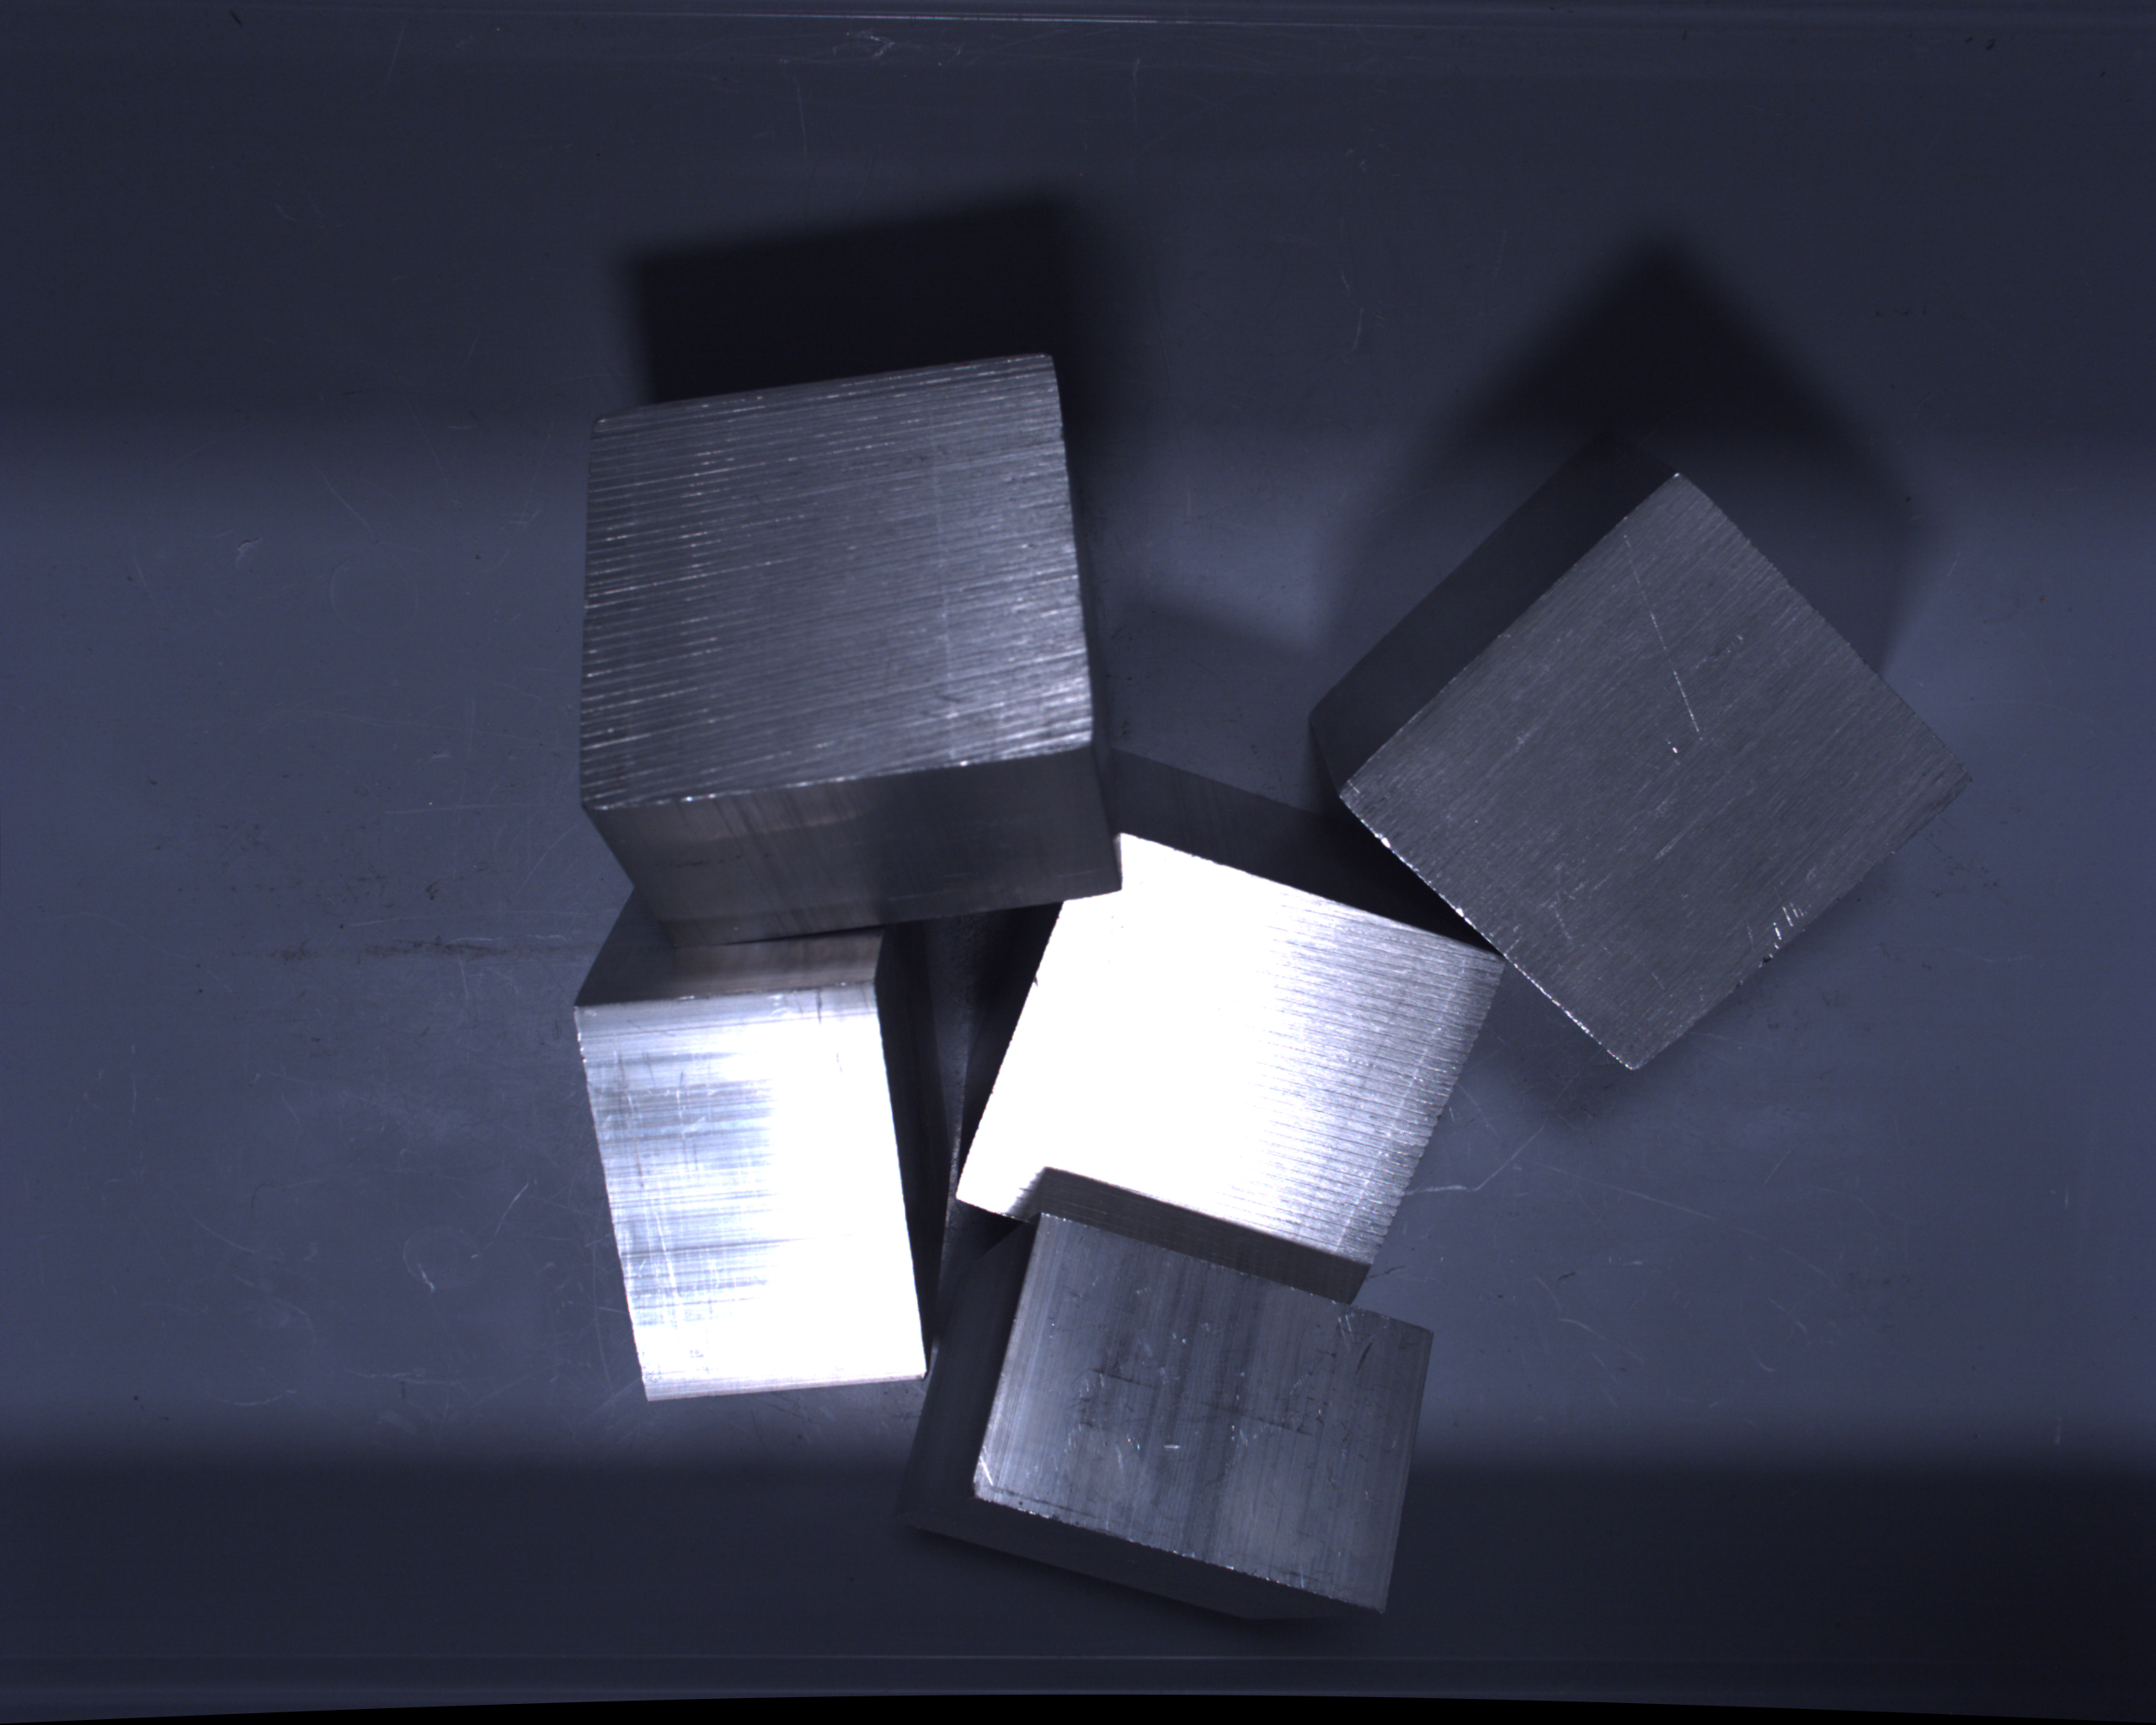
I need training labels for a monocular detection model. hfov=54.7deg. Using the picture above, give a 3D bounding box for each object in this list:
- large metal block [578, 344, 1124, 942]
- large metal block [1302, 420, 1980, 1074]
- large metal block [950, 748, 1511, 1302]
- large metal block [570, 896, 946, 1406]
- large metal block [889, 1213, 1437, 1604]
[{"bbox_3d":[-0.038,-0.037,0.360,0.080,0.080,0.050,-7,152,3],"label":"large metal block"},{"bbox_3d":[0.101,-0.022,0.390,0.080,0.050,0.080,42,104,-14],"label":"large metal block"},{"bbox_3d":[0.027,0.031,0.409,0.080,0.050,0.079,18,109,-7],"label":"large metal block"},{"bbox_3d":[-0.056,0.044,0.396,0.050,0.080,0.079,-5,110,1],"label":"large metal block"},{"bbox_3d":[0.014,0.112,0.415,0.080,0.080,0.050,18,67,-9],"label":"large metal block"}]
